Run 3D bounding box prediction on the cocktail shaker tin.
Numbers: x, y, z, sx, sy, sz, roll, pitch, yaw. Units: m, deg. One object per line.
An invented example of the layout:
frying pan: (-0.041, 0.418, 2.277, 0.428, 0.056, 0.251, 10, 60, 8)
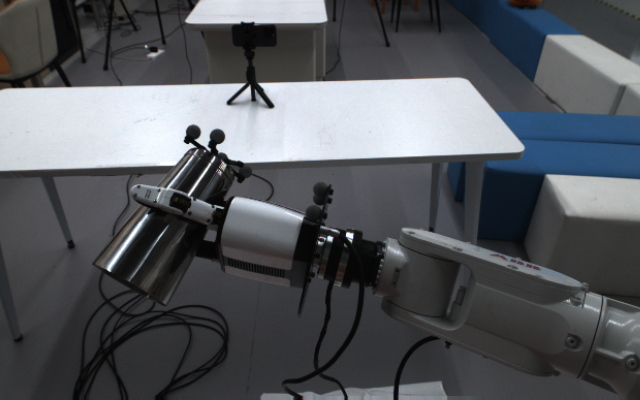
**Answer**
cocktail shaker tin: (-0.169, 0.022, 0.559, 0.093, 0.093, 0.170, 18, 66, 22)
